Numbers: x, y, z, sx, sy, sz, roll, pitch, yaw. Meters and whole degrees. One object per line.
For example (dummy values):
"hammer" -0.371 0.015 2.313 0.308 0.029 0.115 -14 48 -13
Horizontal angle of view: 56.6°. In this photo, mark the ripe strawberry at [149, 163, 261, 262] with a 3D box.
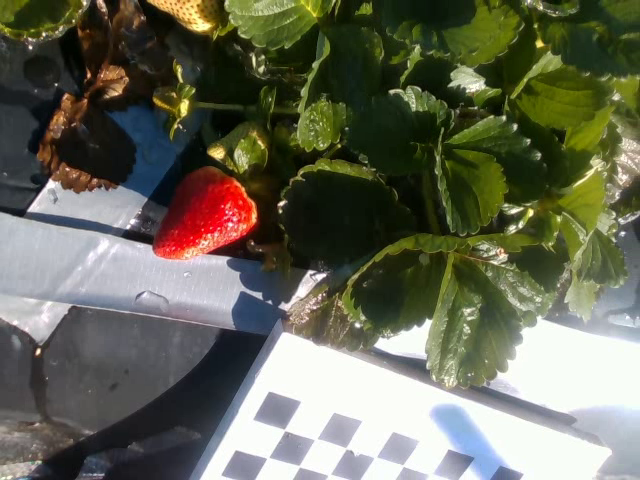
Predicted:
"ripe strawberry" -0.070 -0.006 0.349 0.057 0.062 0.065 -4 37 42
